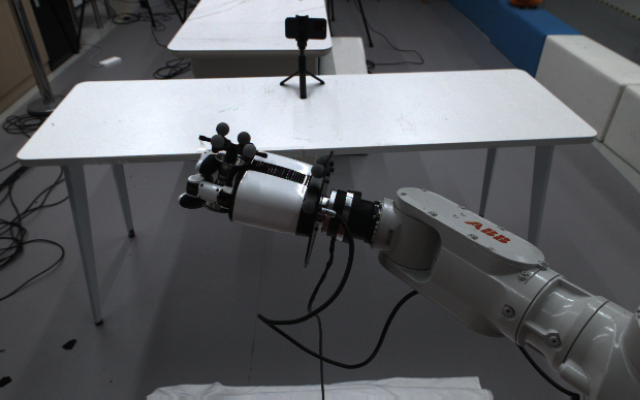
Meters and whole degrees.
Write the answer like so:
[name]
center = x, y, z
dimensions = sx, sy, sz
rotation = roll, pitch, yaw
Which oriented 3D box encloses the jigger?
[jigger]
center = -0.126, -0.022, 0.639
dimensions = 0.043, 0.071, 0.043
rotation = 18, 17, -6
